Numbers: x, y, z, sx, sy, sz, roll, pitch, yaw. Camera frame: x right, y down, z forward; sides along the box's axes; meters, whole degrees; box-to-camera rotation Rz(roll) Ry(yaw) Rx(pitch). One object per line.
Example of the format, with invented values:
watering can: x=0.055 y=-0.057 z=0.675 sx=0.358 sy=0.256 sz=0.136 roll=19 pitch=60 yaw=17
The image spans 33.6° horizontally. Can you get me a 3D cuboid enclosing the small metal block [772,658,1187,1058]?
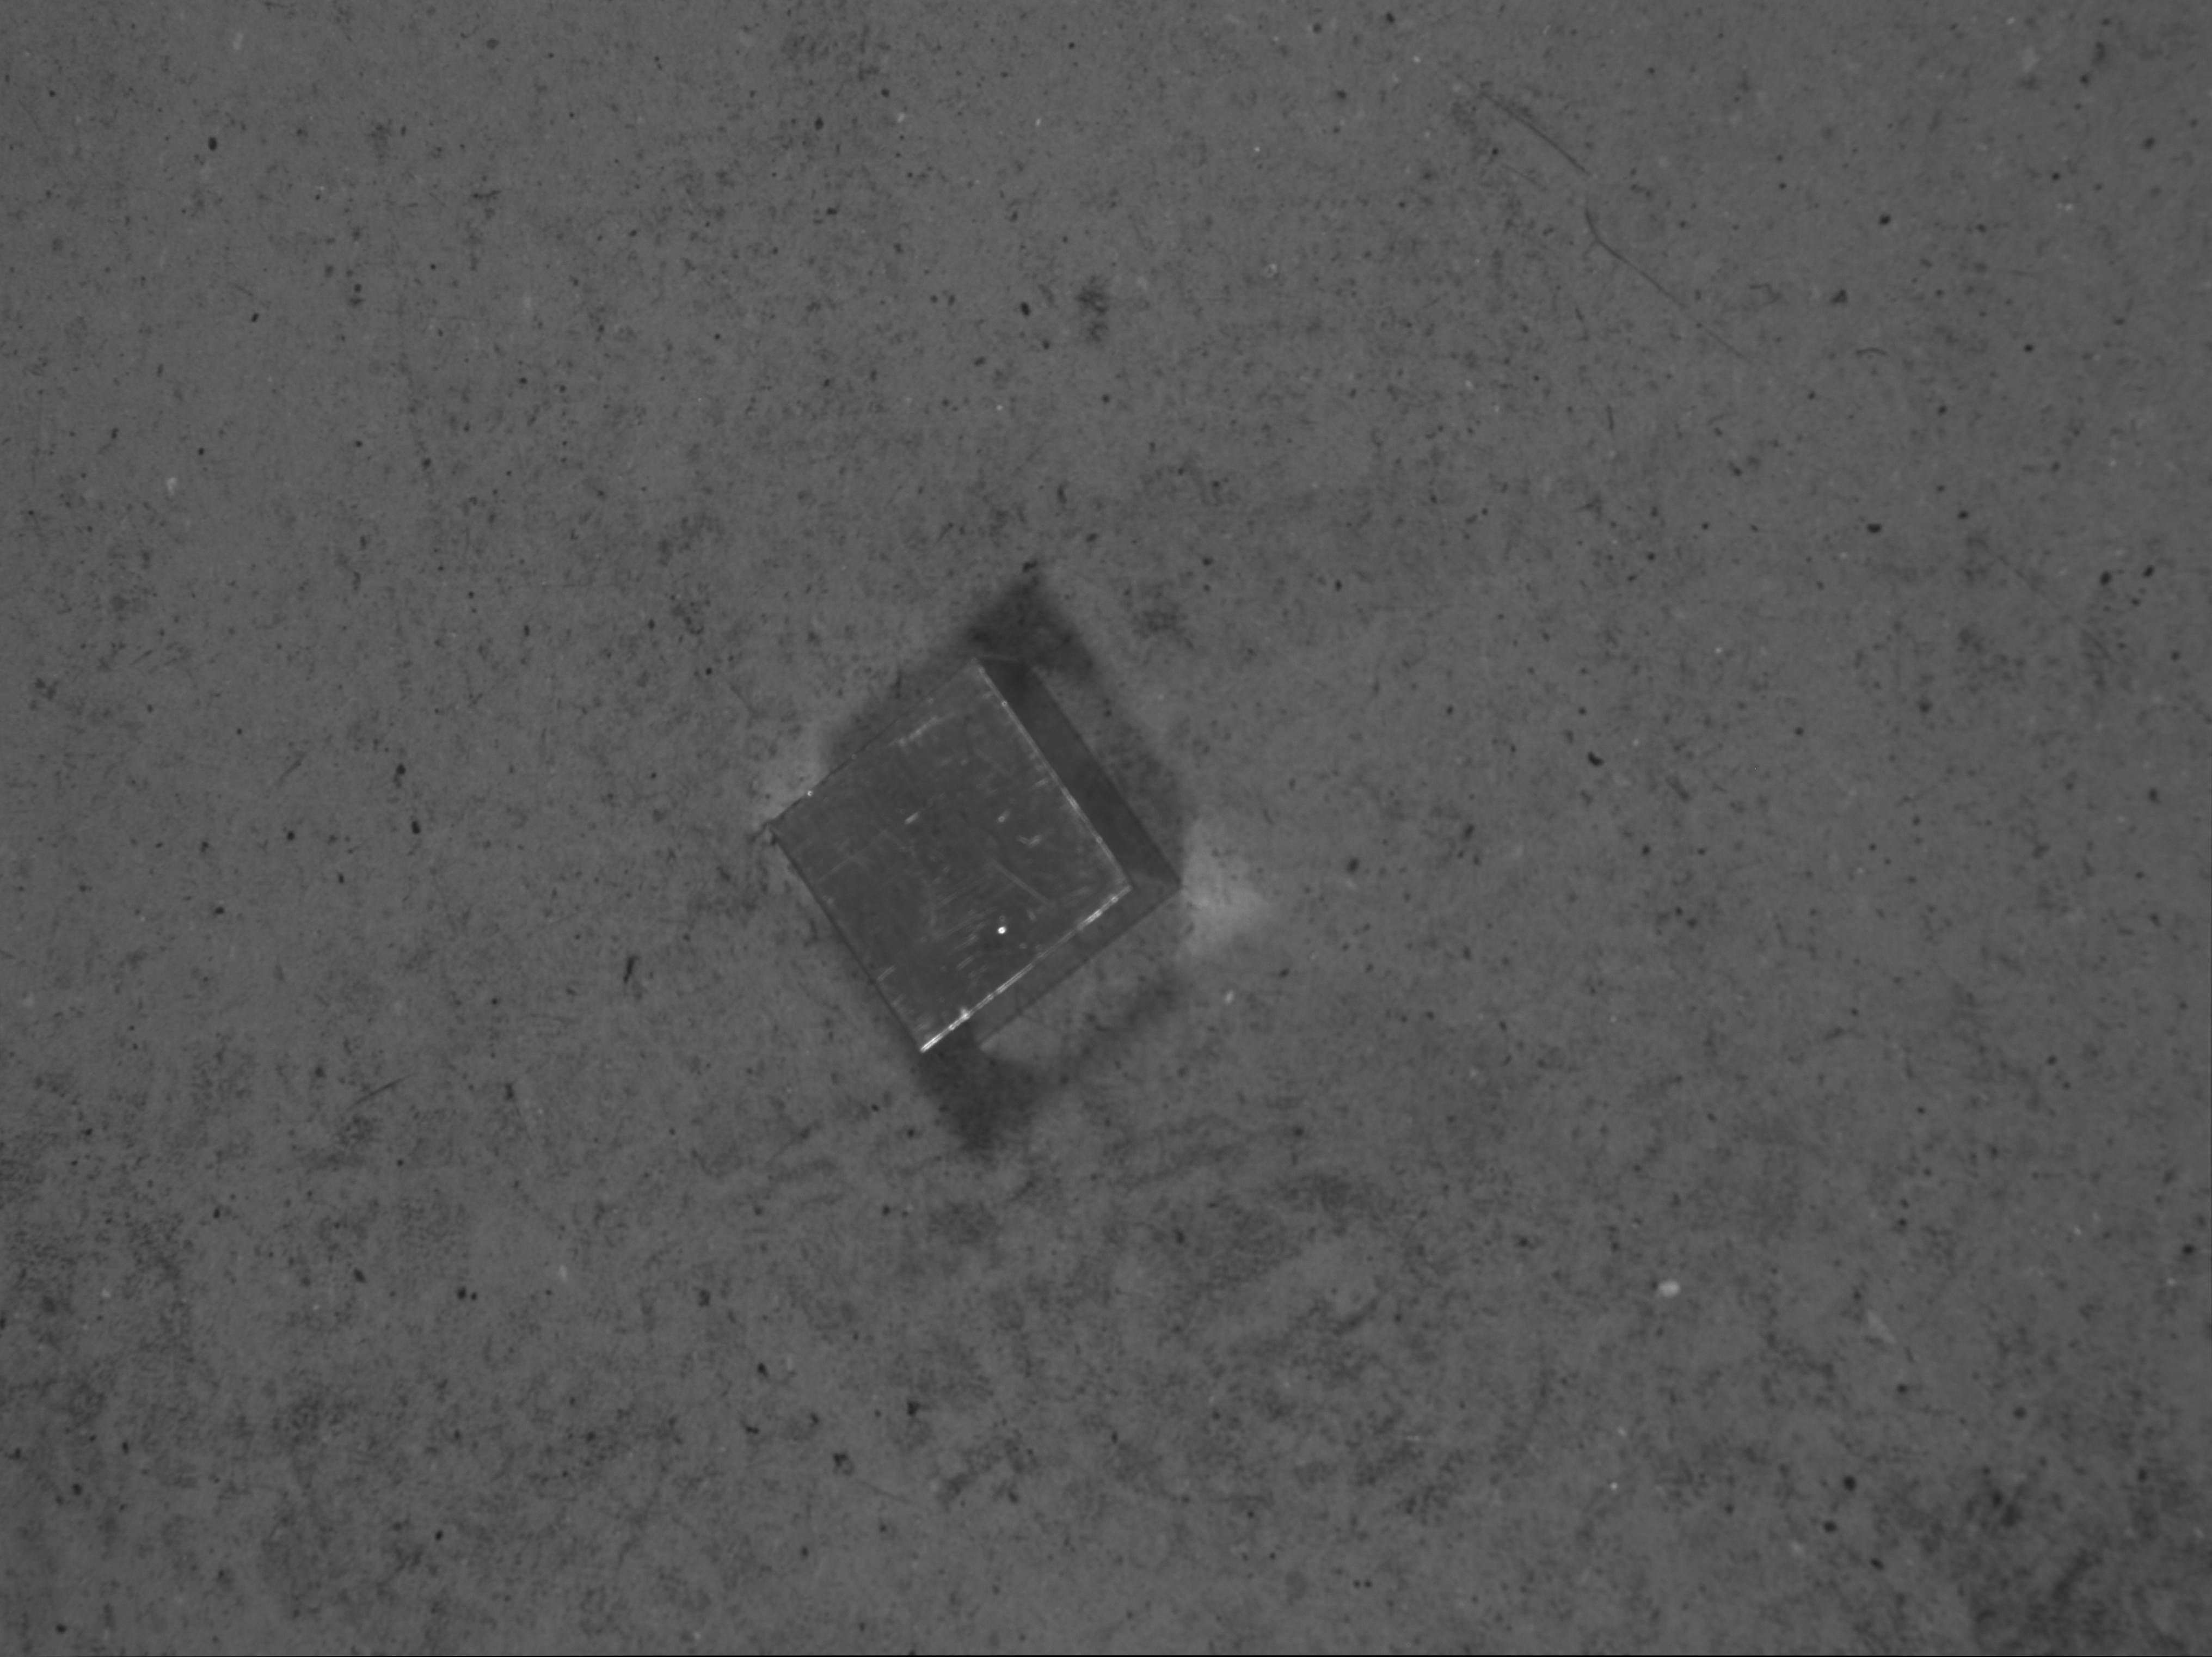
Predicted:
small metal block: x=-0.022 y=0.005 z=0.653 sx=0.050 sy=0.025 sz=0.050 roll=-38 pitch=78 yaw=16
